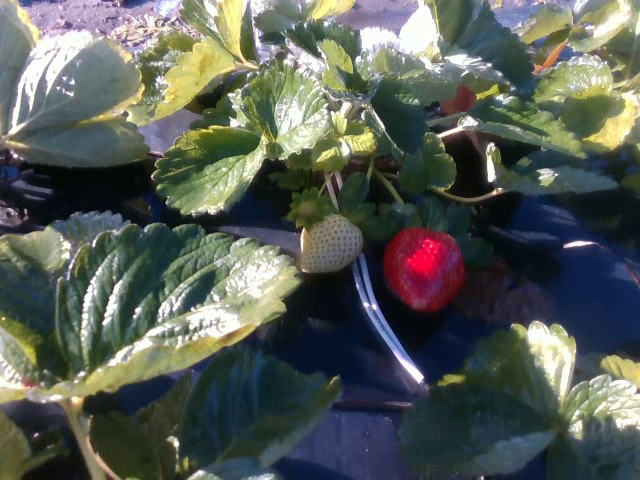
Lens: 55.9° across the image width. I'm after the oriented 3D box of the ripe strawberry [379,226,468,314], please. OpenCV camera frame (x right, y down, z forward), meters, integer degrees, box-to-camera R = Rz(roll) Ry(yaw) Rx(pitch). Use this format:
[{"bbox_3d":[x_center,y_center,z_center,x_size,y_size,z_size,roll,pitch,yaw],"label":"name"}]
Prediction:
[{"bbox_3d":[0.066,0.015,0.343,0.040,0.063,0.080,-40,10,29],"label":"ripe strawberry"}]
